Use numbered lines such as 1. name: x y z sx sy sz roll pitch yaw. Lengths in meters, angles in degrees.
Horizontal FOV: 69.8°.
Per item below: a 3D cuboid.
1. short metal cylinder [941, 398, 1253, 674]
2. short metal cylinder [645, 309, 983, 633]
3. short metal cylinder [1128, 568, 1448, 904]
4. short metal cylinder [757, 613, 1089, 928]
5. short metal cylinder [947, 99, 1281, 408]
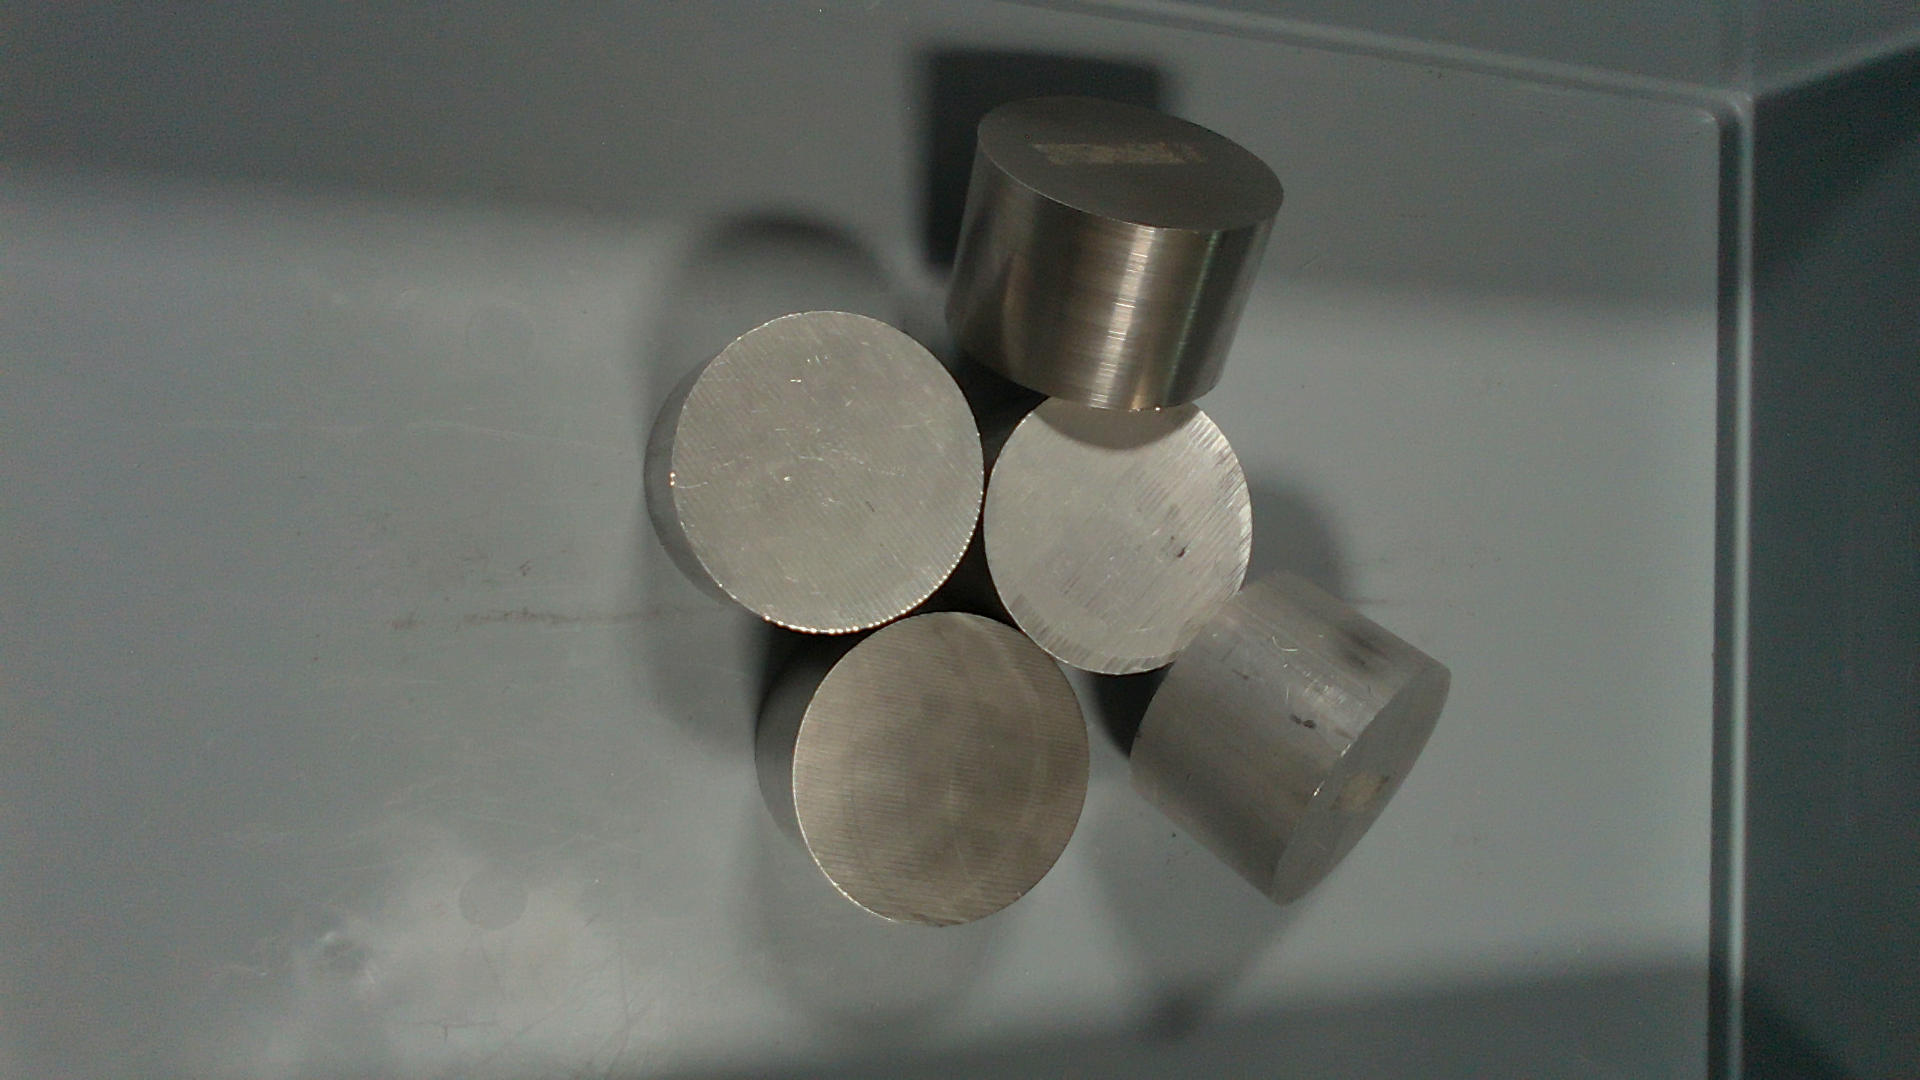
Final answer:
1. short metal cylinder: 0.035 -0.004 0.391 0.080 0.050 0.080 0 90 -20
2. short metal cylinder: -0.040 -0.017 0.364 0.080 0.050 0.080 0 90 -20
3. short metal cylinder: 0.093 0.055 0.391 0.080 0.050 0.080 -35 144 -29
4. short metal cylinder: -0.012 0.059 0.374 0.080 0.050 0.080 0 90 -20
5. short metal cylinder: 0.039 -0.079 0.370 0.080 0.080 0.050 -3 130 -20
